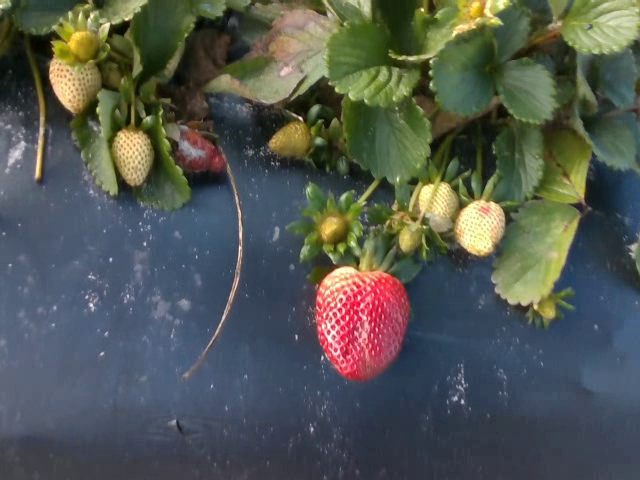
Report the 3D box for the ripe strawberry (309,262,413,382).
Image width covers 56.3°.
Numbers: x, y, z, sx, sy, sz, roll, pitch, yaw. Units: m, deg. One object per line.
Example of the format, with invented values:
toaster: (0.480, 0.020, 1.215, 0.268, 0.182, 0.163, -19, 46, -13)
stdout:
ripe strawberry: (0.021, 0.044, 0.321, 0.052, 0.068, 0.045, 12, -40, -8)
